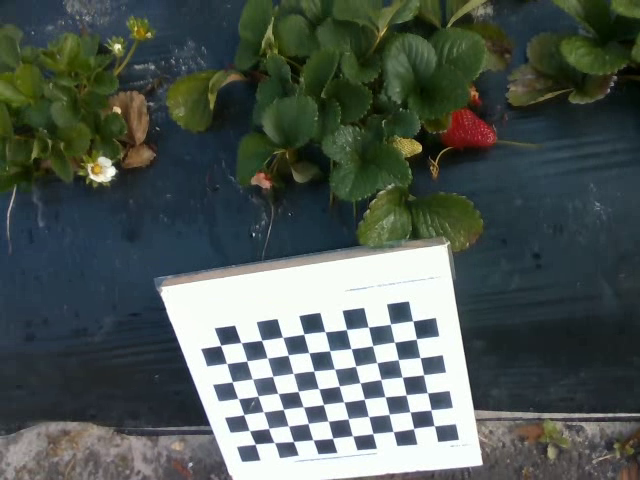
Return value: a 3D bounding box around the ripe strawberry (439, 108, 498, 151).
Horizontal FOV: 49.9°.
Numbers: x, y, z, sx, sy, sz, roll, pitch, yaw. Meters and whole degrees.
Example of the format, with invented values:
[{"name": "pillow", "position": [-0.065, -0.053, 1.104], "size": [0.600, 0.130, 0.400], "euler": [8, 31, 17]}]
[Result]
[{"name": "ripe strawberry", "position": [0.131, -0.098, 0.609], "size": [0.064, 0.051, 0.043], "euler": [20, 25, -2]}]
